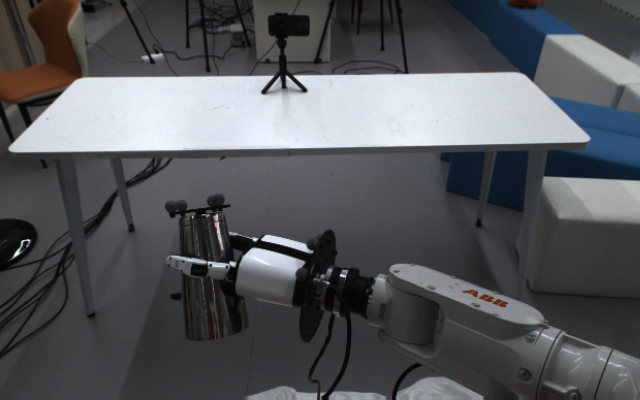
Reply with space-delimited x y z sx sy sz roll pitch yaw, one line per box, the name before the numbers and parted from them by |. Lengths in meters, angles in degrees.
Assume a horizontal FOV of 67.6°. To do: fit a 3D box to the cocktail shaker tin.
cocktail shaker tin | -0.161 0.107 0.703 0.093 0.170 0.093 -8 1 0
